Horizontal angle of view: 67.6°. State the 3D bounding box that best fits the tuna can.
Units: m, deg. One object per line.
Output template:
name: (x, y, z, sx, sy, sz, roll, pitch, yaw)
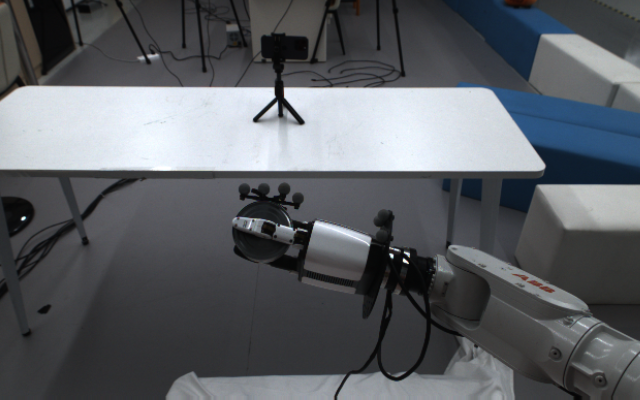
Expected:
tuna can: (-0.081, 0.045, 0.692, 0.085, 0.034, 0.085, 1, 73, -3)
